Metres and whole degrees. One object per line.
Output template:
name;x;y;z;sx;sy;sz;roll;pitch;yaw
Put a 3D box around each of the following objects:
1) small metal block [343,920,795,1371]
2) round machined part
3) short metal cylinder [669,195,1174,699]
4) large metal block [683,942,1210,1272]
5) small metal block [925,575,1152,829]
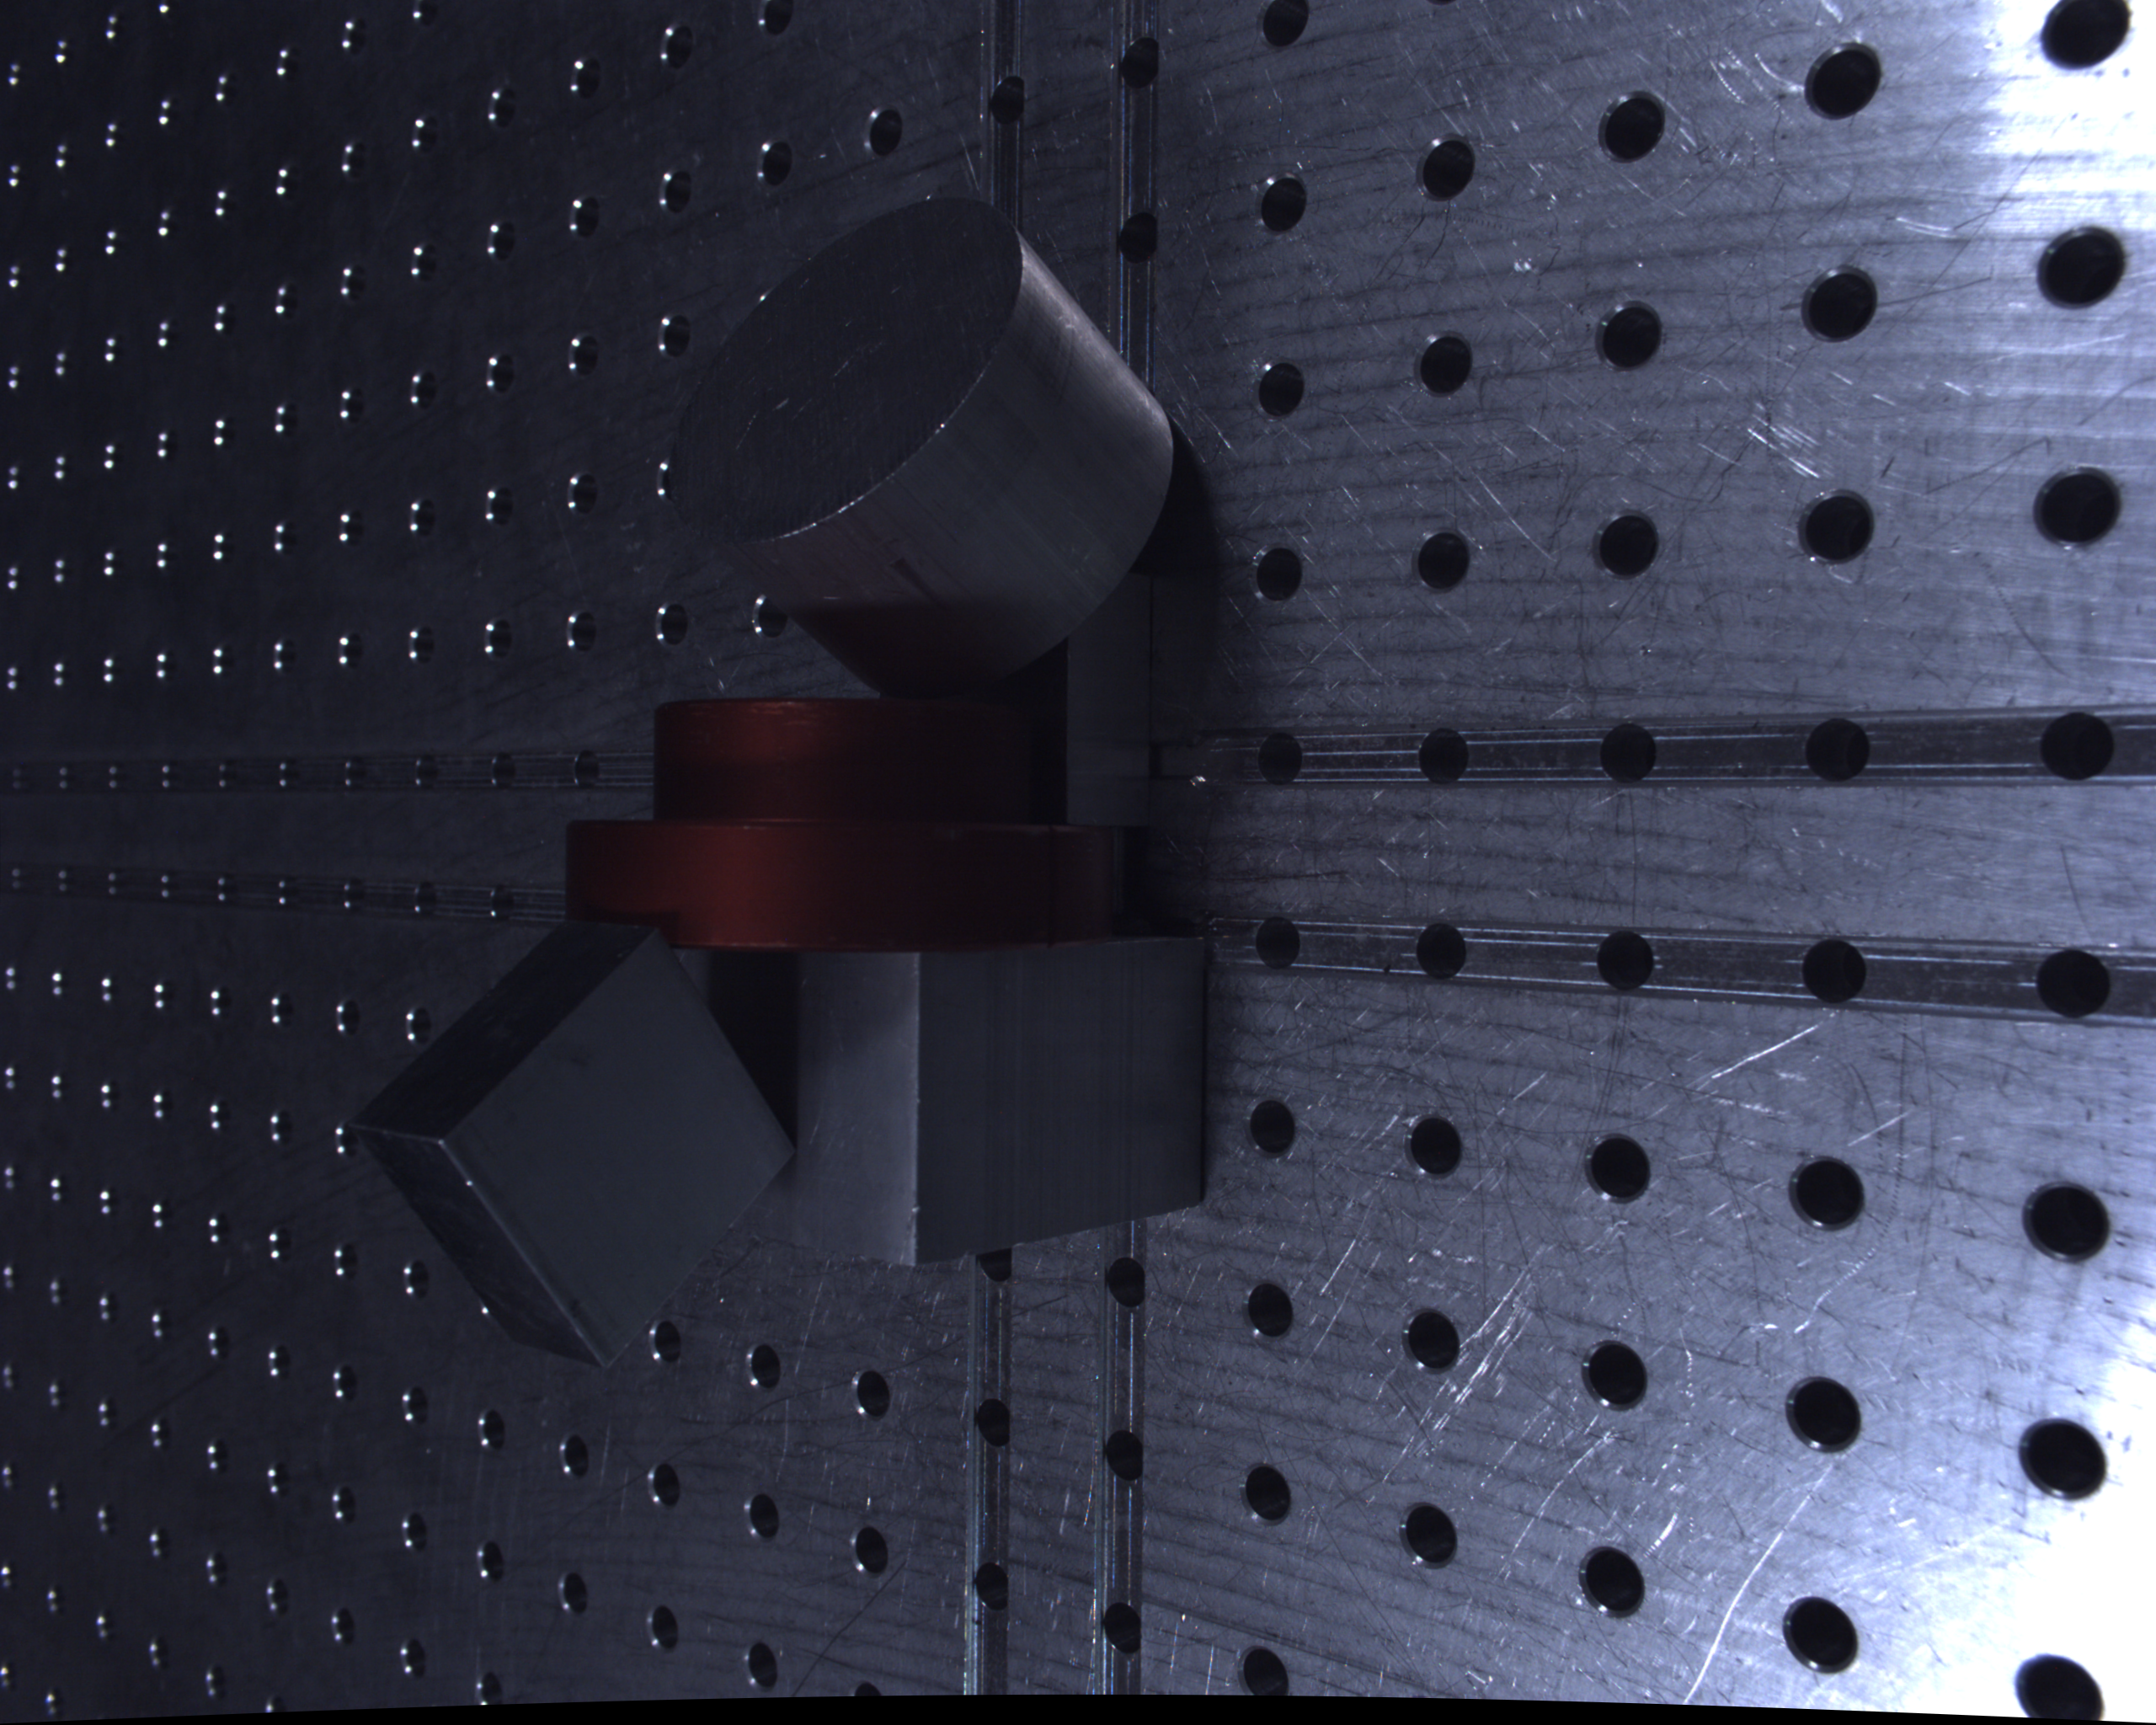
small metal block;-0.081;0.045;0.339;0.025;0.050;0.050;2;129;39
round machined part;-0.043;-0.007;0.381;0.098;0.099;0.042;1;91;39
short metal cylinder;-0.029;-0.078;0.393;0.080;0.050;0.080;-21;49;26
large metal block;-0.031;0.041;0.396;0.080;0.081;0.050;1;91;39
small metal block;-0.013;-0.032;0.417;0.050;0.025;0.050;1;91;39
